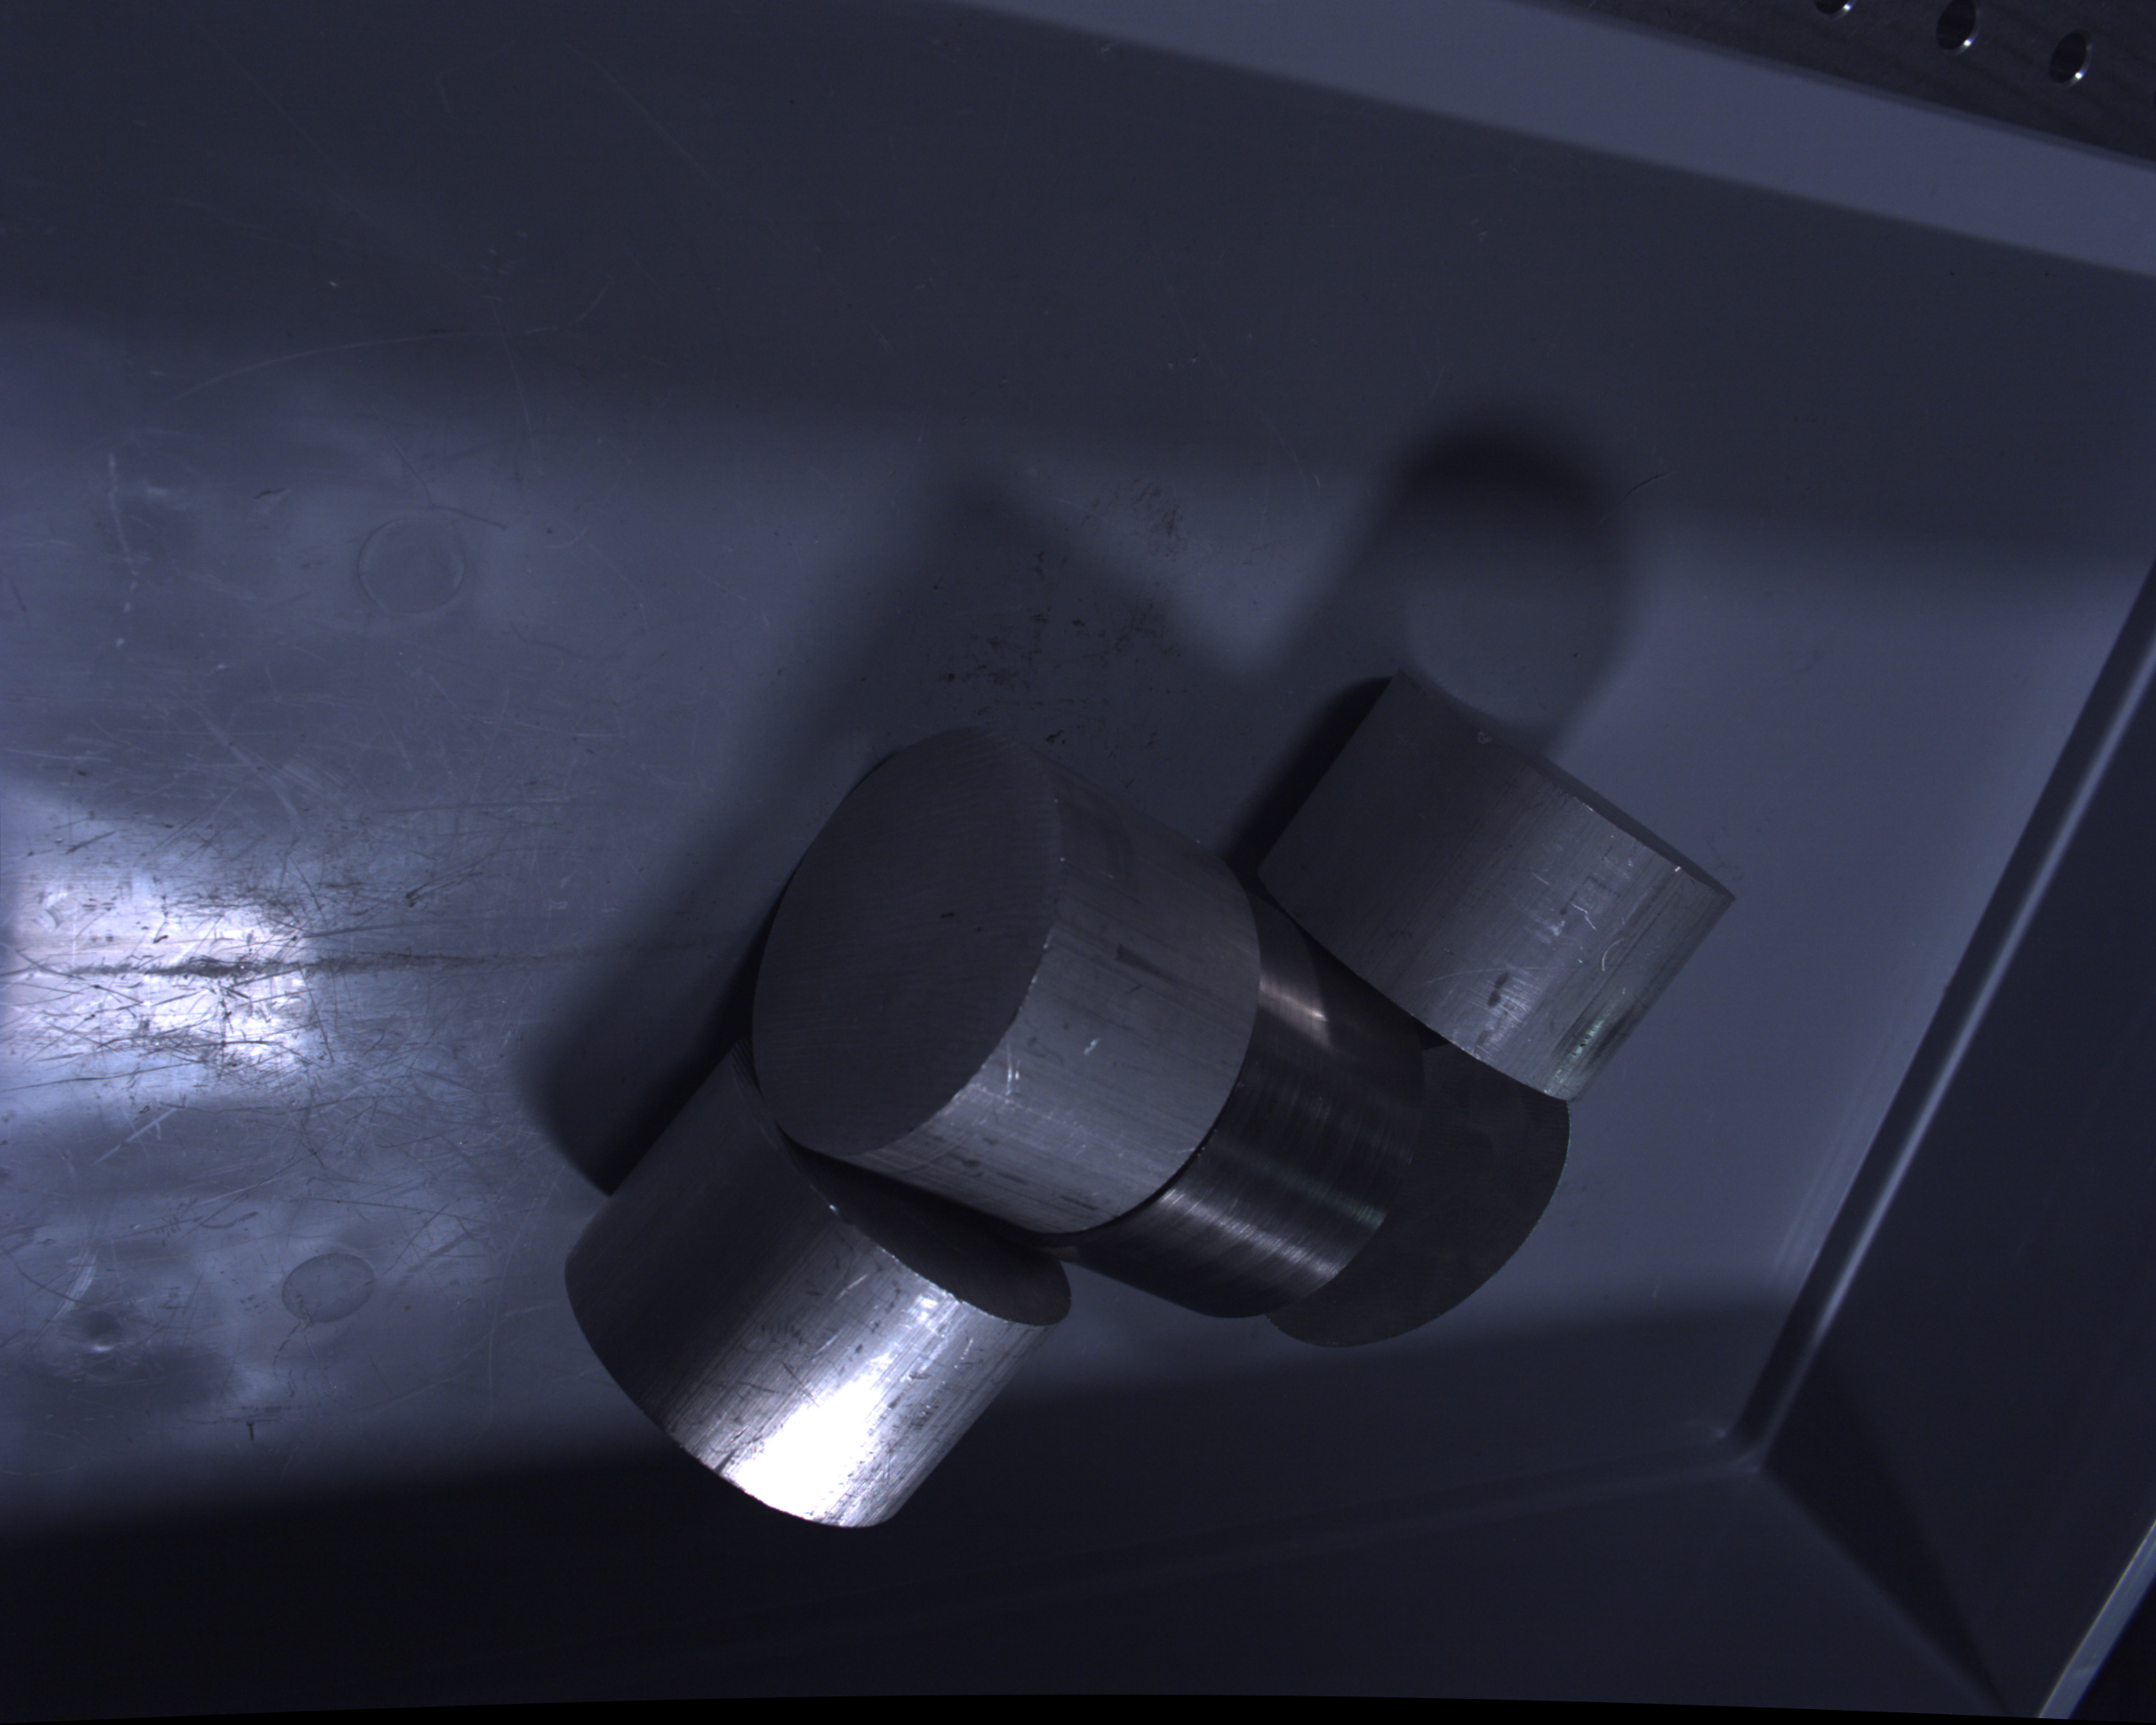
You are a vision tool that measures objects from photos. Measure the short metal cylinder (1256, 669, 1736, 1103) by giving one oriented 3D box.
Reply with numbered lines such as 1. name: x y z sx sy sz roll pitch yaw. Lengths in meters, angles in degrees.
1. short metal cylinder: 0.084 0.004 0.421 0.080 0.080 0.050 26 104 -37

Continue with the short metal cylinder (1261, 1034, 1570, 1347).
1. short metal cylinder: 0.061 0.060 0.462 0.081 0.050 0.079 -14 125 -21

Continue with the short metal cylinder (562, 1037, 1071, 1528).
1. short metal cylinder: -0.048 0.077 0.394 0.080 0.080 0.050 33 100 -39

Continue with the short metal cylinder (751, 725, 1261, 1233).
1. short metal cylinder: -0.014 0.022 0.378 0.050 0.080 0.080 29 102 -38

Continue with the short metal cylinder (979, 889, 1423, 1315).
1. short metal cylinder: 0.020 0.043 0.411 0.050 0.080 0.080 30 101 -38
